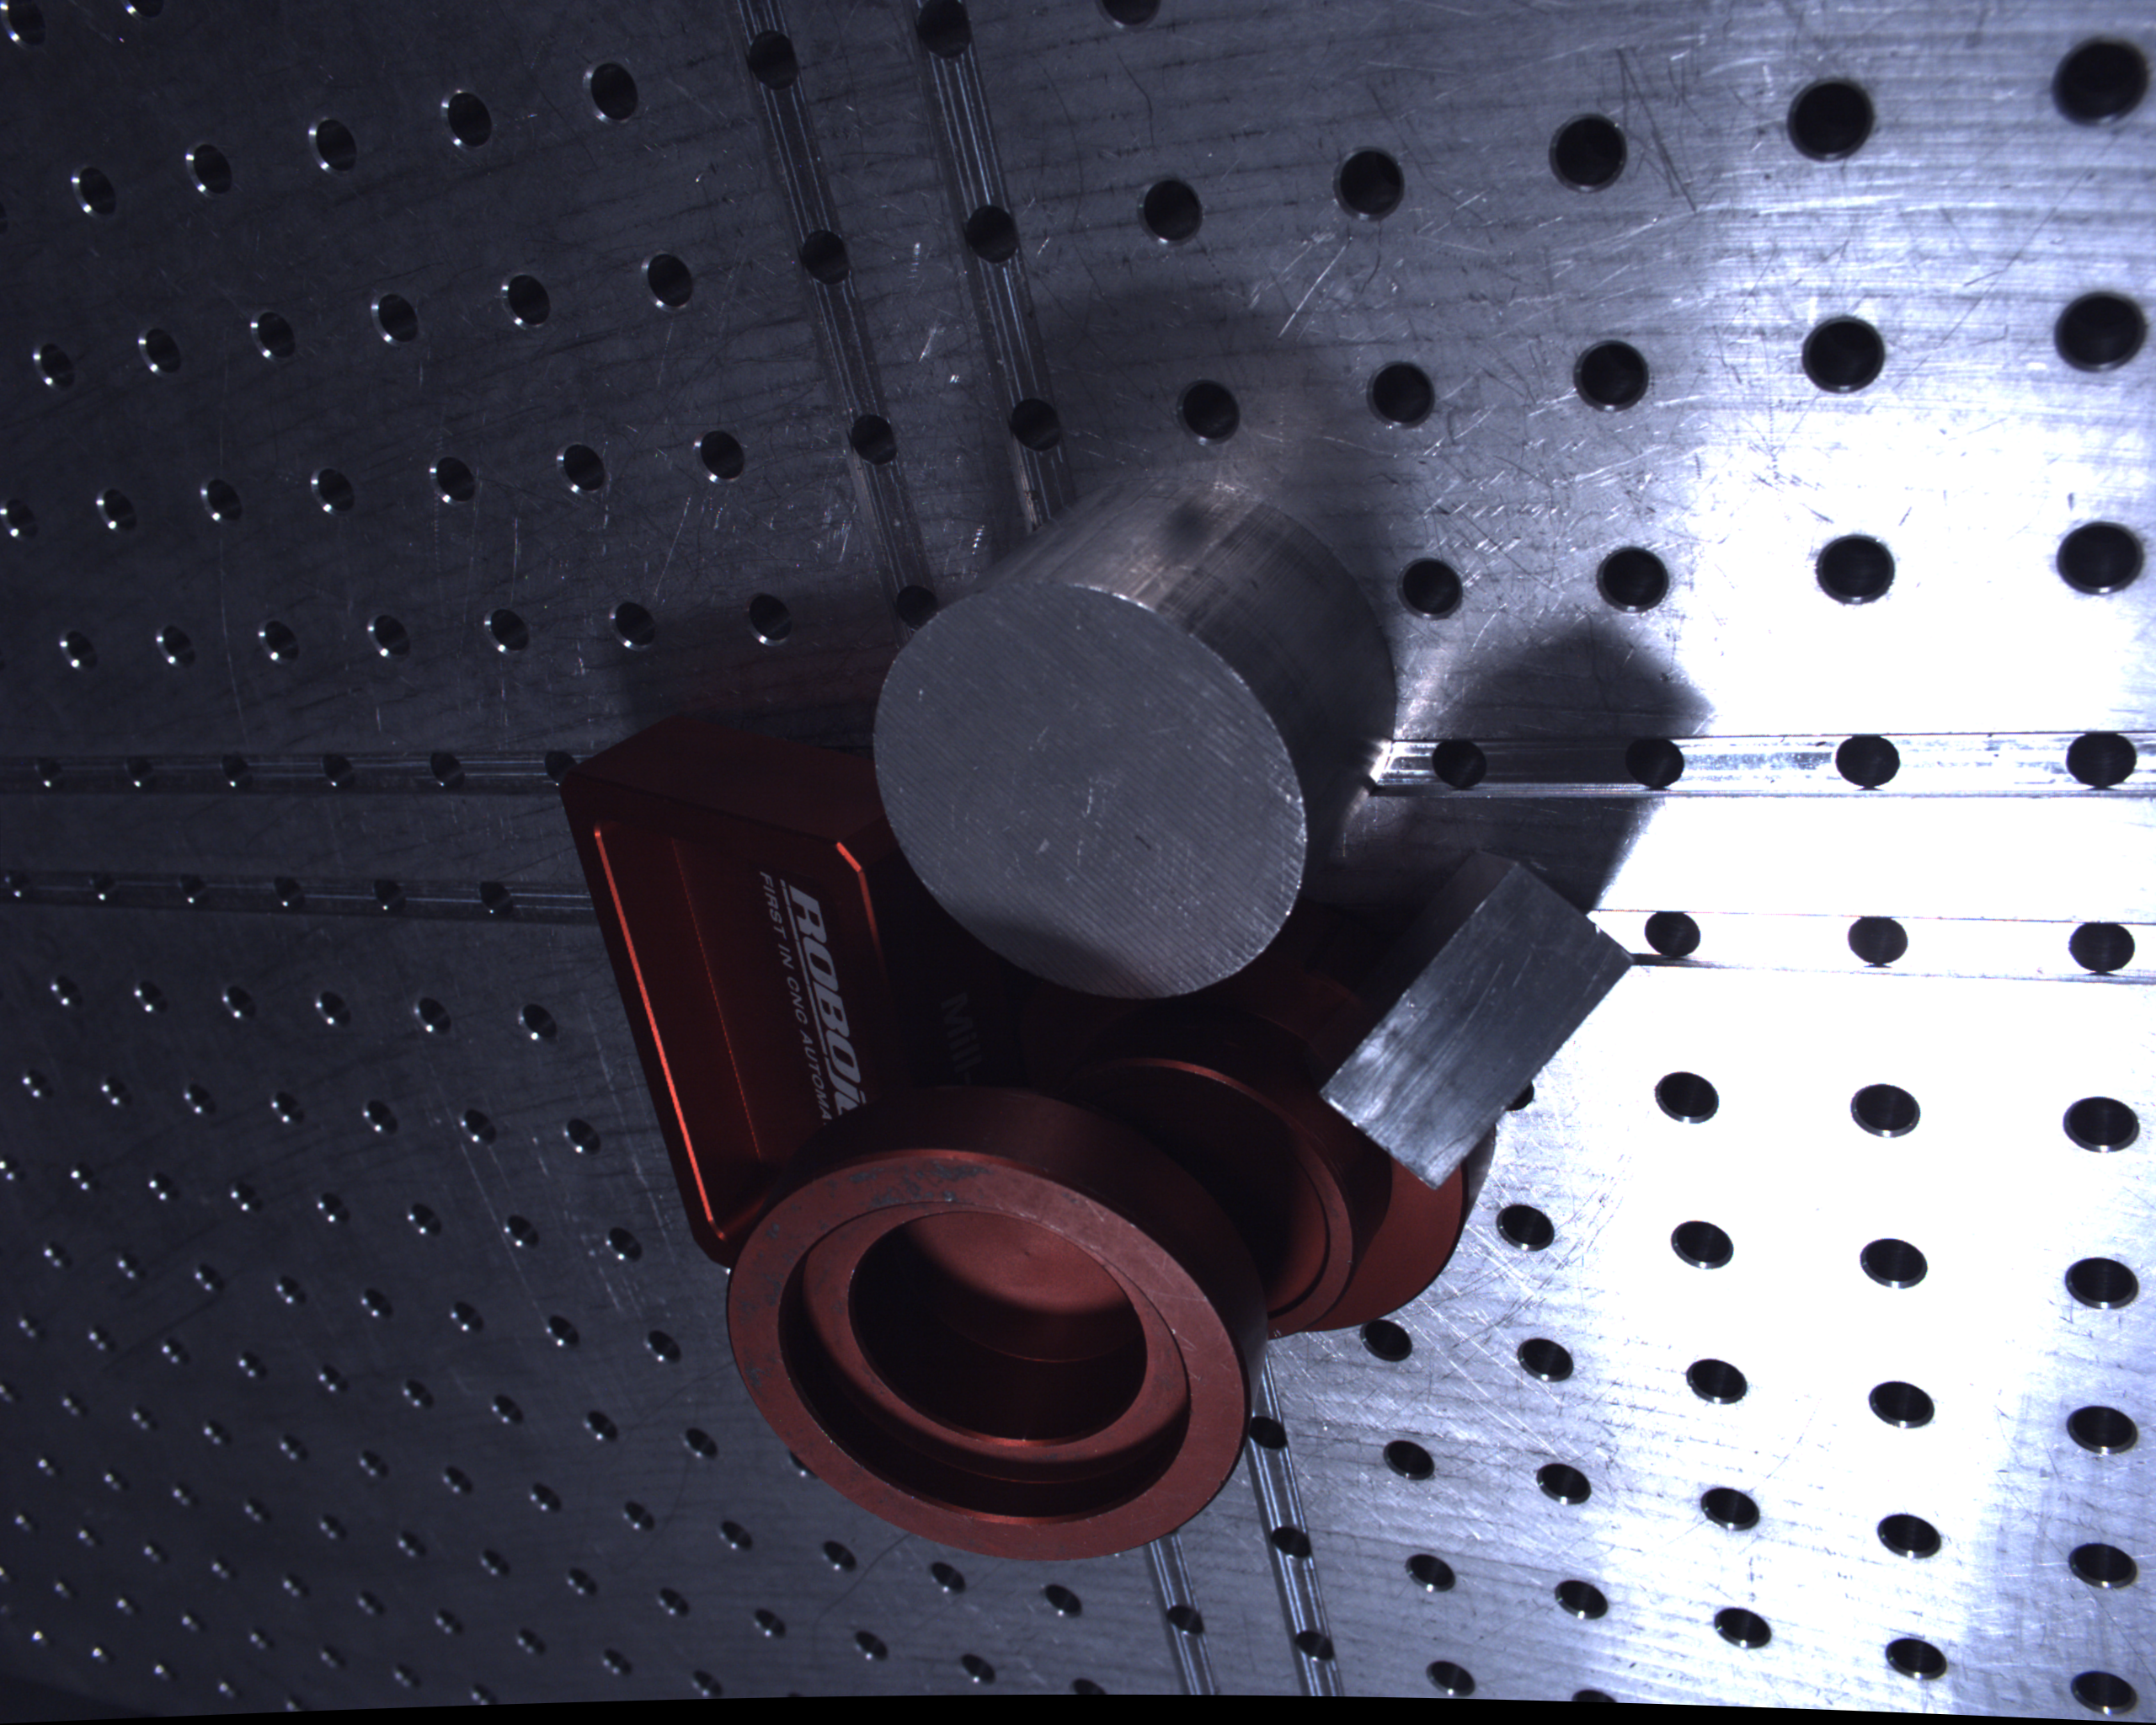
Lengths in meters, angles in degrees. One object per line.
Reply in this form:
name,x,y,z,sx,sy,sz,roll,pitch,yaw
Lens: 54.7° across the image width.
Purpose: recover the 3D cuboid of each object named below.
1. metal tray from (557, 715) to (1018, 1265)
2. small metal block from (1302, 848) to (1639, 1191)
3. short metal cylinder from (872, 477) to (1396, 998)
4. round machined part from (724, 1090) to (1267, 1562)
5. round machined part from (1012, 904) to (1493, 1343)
metal tray,-0.057,0.039,0.445,0.090,0.030,0.129,14,125,38
small metal block,0.066,0.025,0.362,0.025,0.050,0.050,40,94,1
short metal cylinder,0.011,-0.023,0.374,0.080,0.050,0.079,13,124,20
round machined part,-0.013,0.082,0.395,0.098,0.042,0.097,7,121,12
round machined part,0.029,0.057,0.417,0.098,0.042,0.097,13,124,20
